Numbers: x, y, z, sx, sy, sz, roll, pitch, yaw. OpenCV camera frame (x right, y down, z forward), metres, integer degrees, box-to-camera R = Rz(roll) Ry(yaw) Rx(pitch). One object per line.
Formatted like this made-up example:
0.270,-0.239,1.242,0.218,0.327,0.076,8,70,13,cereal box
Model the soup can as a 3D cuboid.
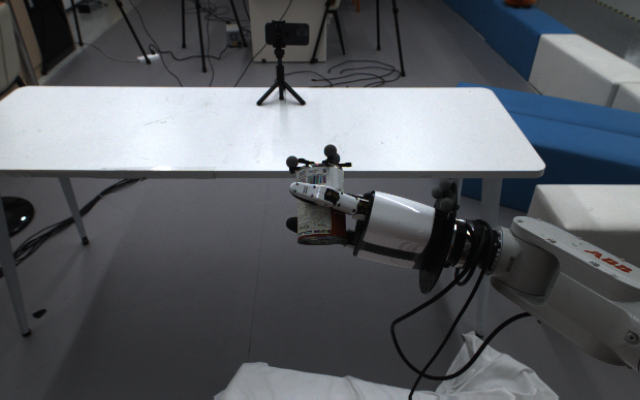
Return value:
0.003,0.007,0.663,0.067,0.067,0.101,-2,76,-6,soup can
